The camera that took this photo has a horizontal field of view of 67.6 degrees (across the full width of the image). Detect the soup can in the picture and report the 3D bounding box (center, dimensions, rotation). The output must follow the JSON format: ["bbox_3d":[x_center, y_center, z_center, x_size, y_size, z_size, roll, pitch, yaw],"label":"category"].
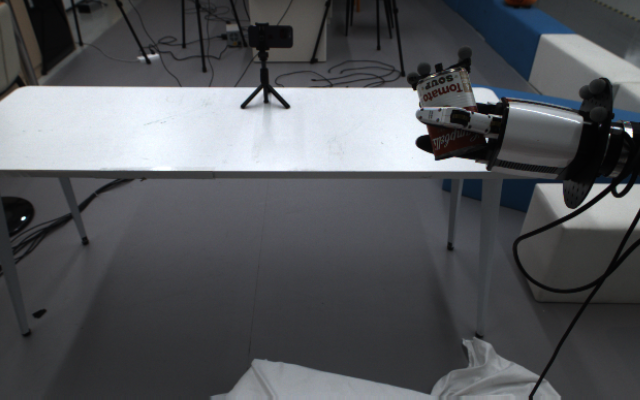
[{"bbox_3d":[0.169,-0.110,0.624,0.067,0.101,0.067,-14,-2,-1],"label":"soup can"}]
